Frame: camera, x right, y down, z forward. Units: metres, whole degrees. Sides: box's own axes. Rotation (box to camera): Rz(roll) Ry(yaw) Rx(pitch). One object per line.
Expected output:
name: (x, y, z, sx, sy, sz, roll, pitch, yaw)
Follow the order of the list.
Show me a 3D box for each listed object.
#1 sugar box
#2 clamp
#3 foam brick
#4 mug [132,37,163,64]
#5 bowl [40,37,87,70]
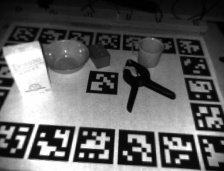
sugar box: (-0.245, -0.043, 0.629, 0.093, 0.177, 0.045, -17, 56, -17)
clamp: (0.082, -0.029, 0.727, 0.166, 0.037, 0.201, -16, 56, -14)
foam brick: (-0.051, -0.115, 0.788, 0.053, 0.051, 0.077, -19, 57, -17)
mug: (0.120, -0.138, 0.792, 0.116, 0.082, 0.093, 26, 55, 11)
bowl: (-0.168, -0.105, 0.761, 0.162, 0.055, 0.161, 3, 52, -3)
